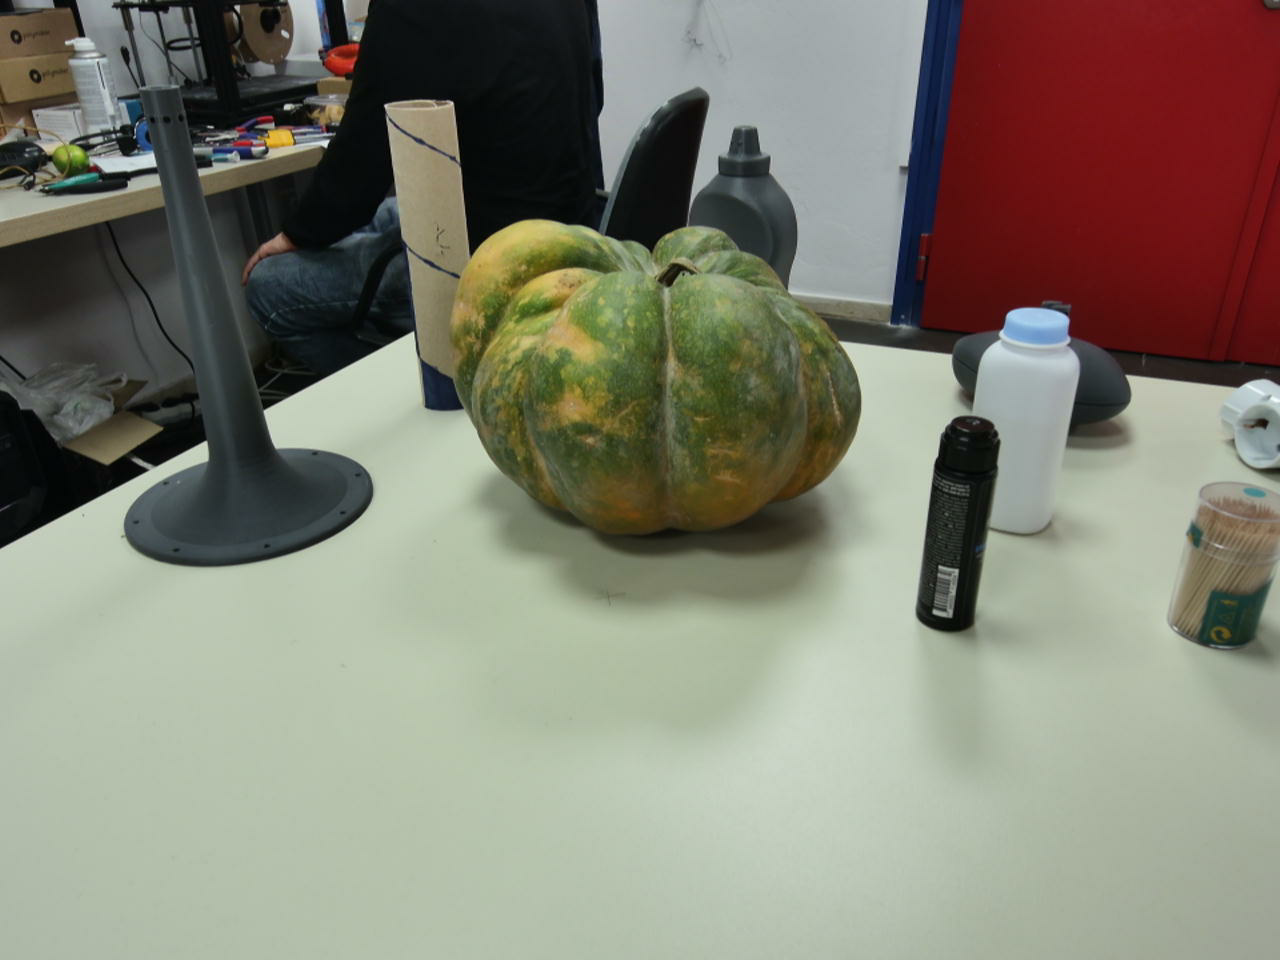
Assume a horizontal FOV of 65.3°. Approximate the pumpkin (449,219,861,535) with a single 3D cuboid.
[{"bbox_3d":[0.008,-0.071,0.622,0.237,0.173,0.270,-13,29,-26],"label":"pumpkin"}]
